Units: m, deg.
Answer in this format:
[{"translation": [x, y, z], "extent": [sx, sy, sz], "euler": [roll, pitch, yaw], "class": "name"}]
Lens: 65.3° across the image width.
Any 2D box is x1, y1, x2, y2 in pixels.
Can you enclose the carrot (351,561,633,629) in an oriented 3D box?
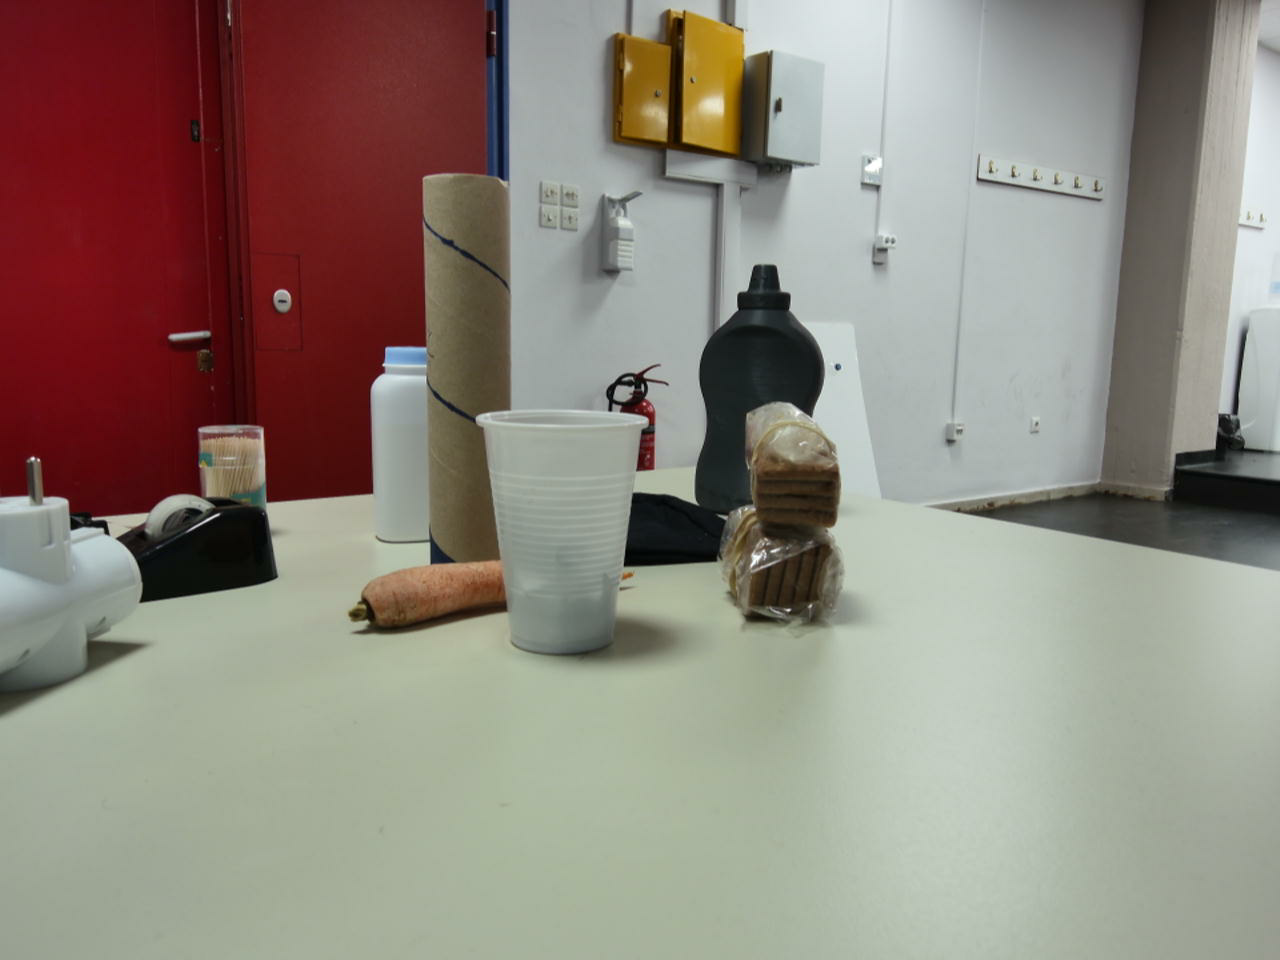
[{"translation": [-0.075, 0.056, 0.539], "extent": [0.163, 0.029, 0.031], "euler": [-5, 8, -36], "class": "carrot"}]
